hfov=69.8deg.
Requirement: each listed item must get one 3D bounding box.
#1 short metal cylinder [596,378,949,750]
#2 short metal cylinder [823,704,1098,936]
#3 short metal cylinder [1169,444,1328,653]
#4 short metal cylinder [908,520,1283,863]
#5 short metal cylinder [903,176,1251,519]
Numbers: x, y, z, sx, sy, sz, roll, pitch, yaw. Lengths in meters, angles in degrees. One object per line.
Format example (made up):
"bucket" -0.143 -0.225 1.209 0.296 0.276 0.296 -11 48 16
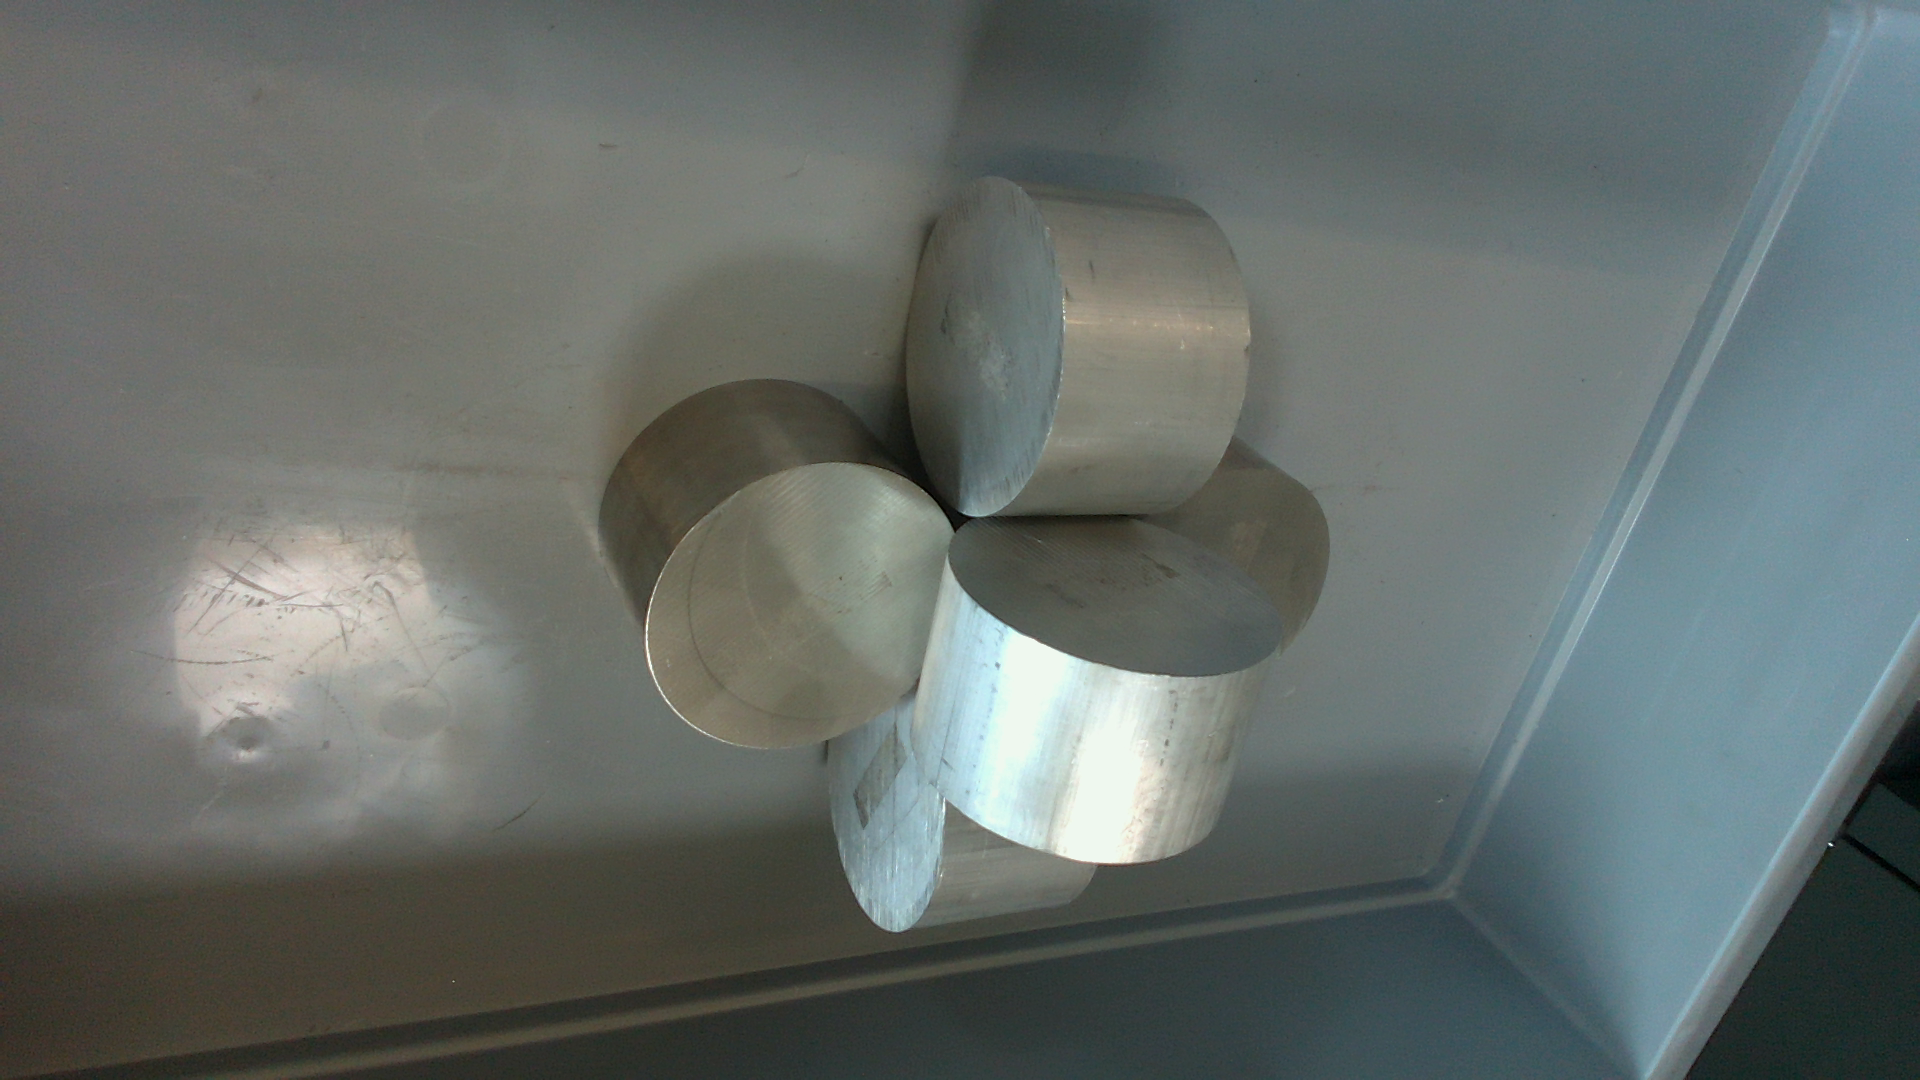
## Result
"short metal cylinder" -0.047 0.006 0.349 0.080 0.050 0.080 -14 124 -21
"short metal cylinder" -0.001 0.068 0.393 0.050 0.080 0.080 -2 120 -28
"short metal cylinder" 0.060 0.004 0.406 0.080 0.050 0.080 -14 124 -21
"short metal cylinder" 0.031 0.032 0.332 0.080 0.080 0.050 -1 119 -28
"short metal cylinder" 0.026 -0.046 0.337 0.050 0.080 0.080 -2 120 -28
